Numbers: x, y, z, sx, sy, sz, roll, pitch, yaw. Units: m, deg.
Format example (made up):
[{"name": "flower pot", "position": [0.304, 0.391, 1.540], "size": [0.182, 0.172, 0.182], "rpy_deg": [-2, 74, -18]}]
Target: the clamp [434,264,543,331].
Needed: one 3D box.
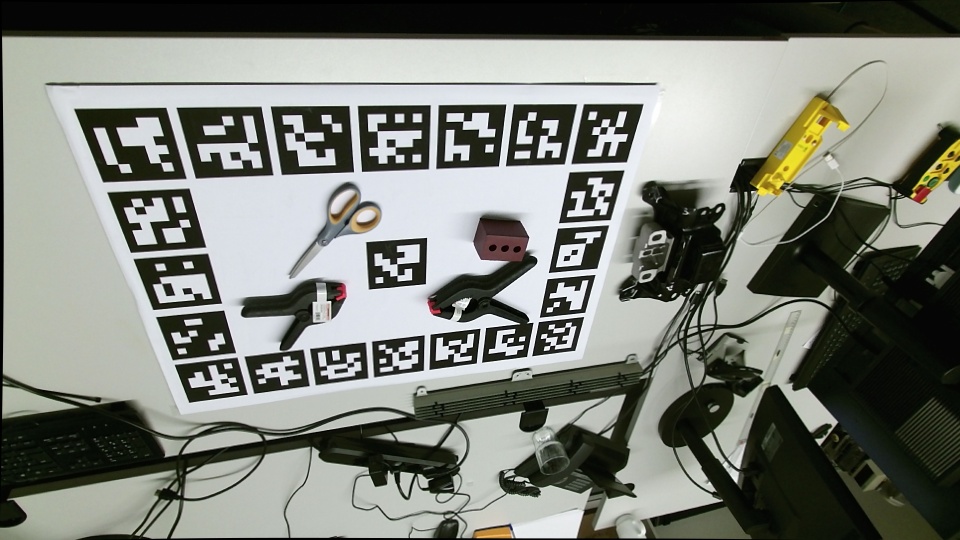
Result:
[{"name": "clamp", "position": [0.015, 0.067, 1.013], "size": [0.203, 0.036, 0.165], "rpy_deg": [-8, 130, -12]}]

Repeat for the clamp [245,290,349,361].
[{"name": "clamp", "position": [-0.301, 0.084, 0.928], "size": [0.165, 0.036, 0.122], "rpy_deg": [-27, 121, 2]}]

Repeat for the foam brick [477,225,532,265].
[{"name": "foam brick", "position": [0.044, -0.043, 0.936], "size": [0.078, 0.051, 0.053], "rpy_deg": [-1, 123, -23]}]

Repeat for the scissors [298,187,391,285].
[{"name": "scissors", "position": [-0.229, -0.042, 0.863], "size": [0.088, 0.016, 0.203], "rpy_deg": [36, 109, -27]}]
